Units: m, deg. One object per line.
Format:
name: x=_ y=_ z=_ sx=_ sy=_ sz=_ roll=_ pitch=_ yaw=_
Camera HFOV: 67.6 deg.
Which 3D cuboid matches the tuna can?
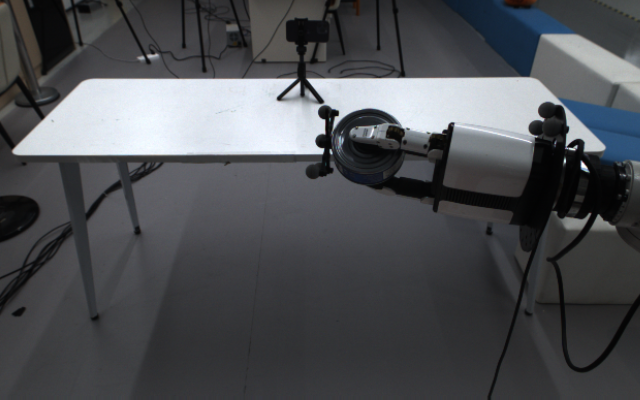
tuna can: x=0.060 y=-0.060 z=0.562 sx=0.085 sy=0.034 sz=0.085 roll=-2 pitch=69 yaw=6
